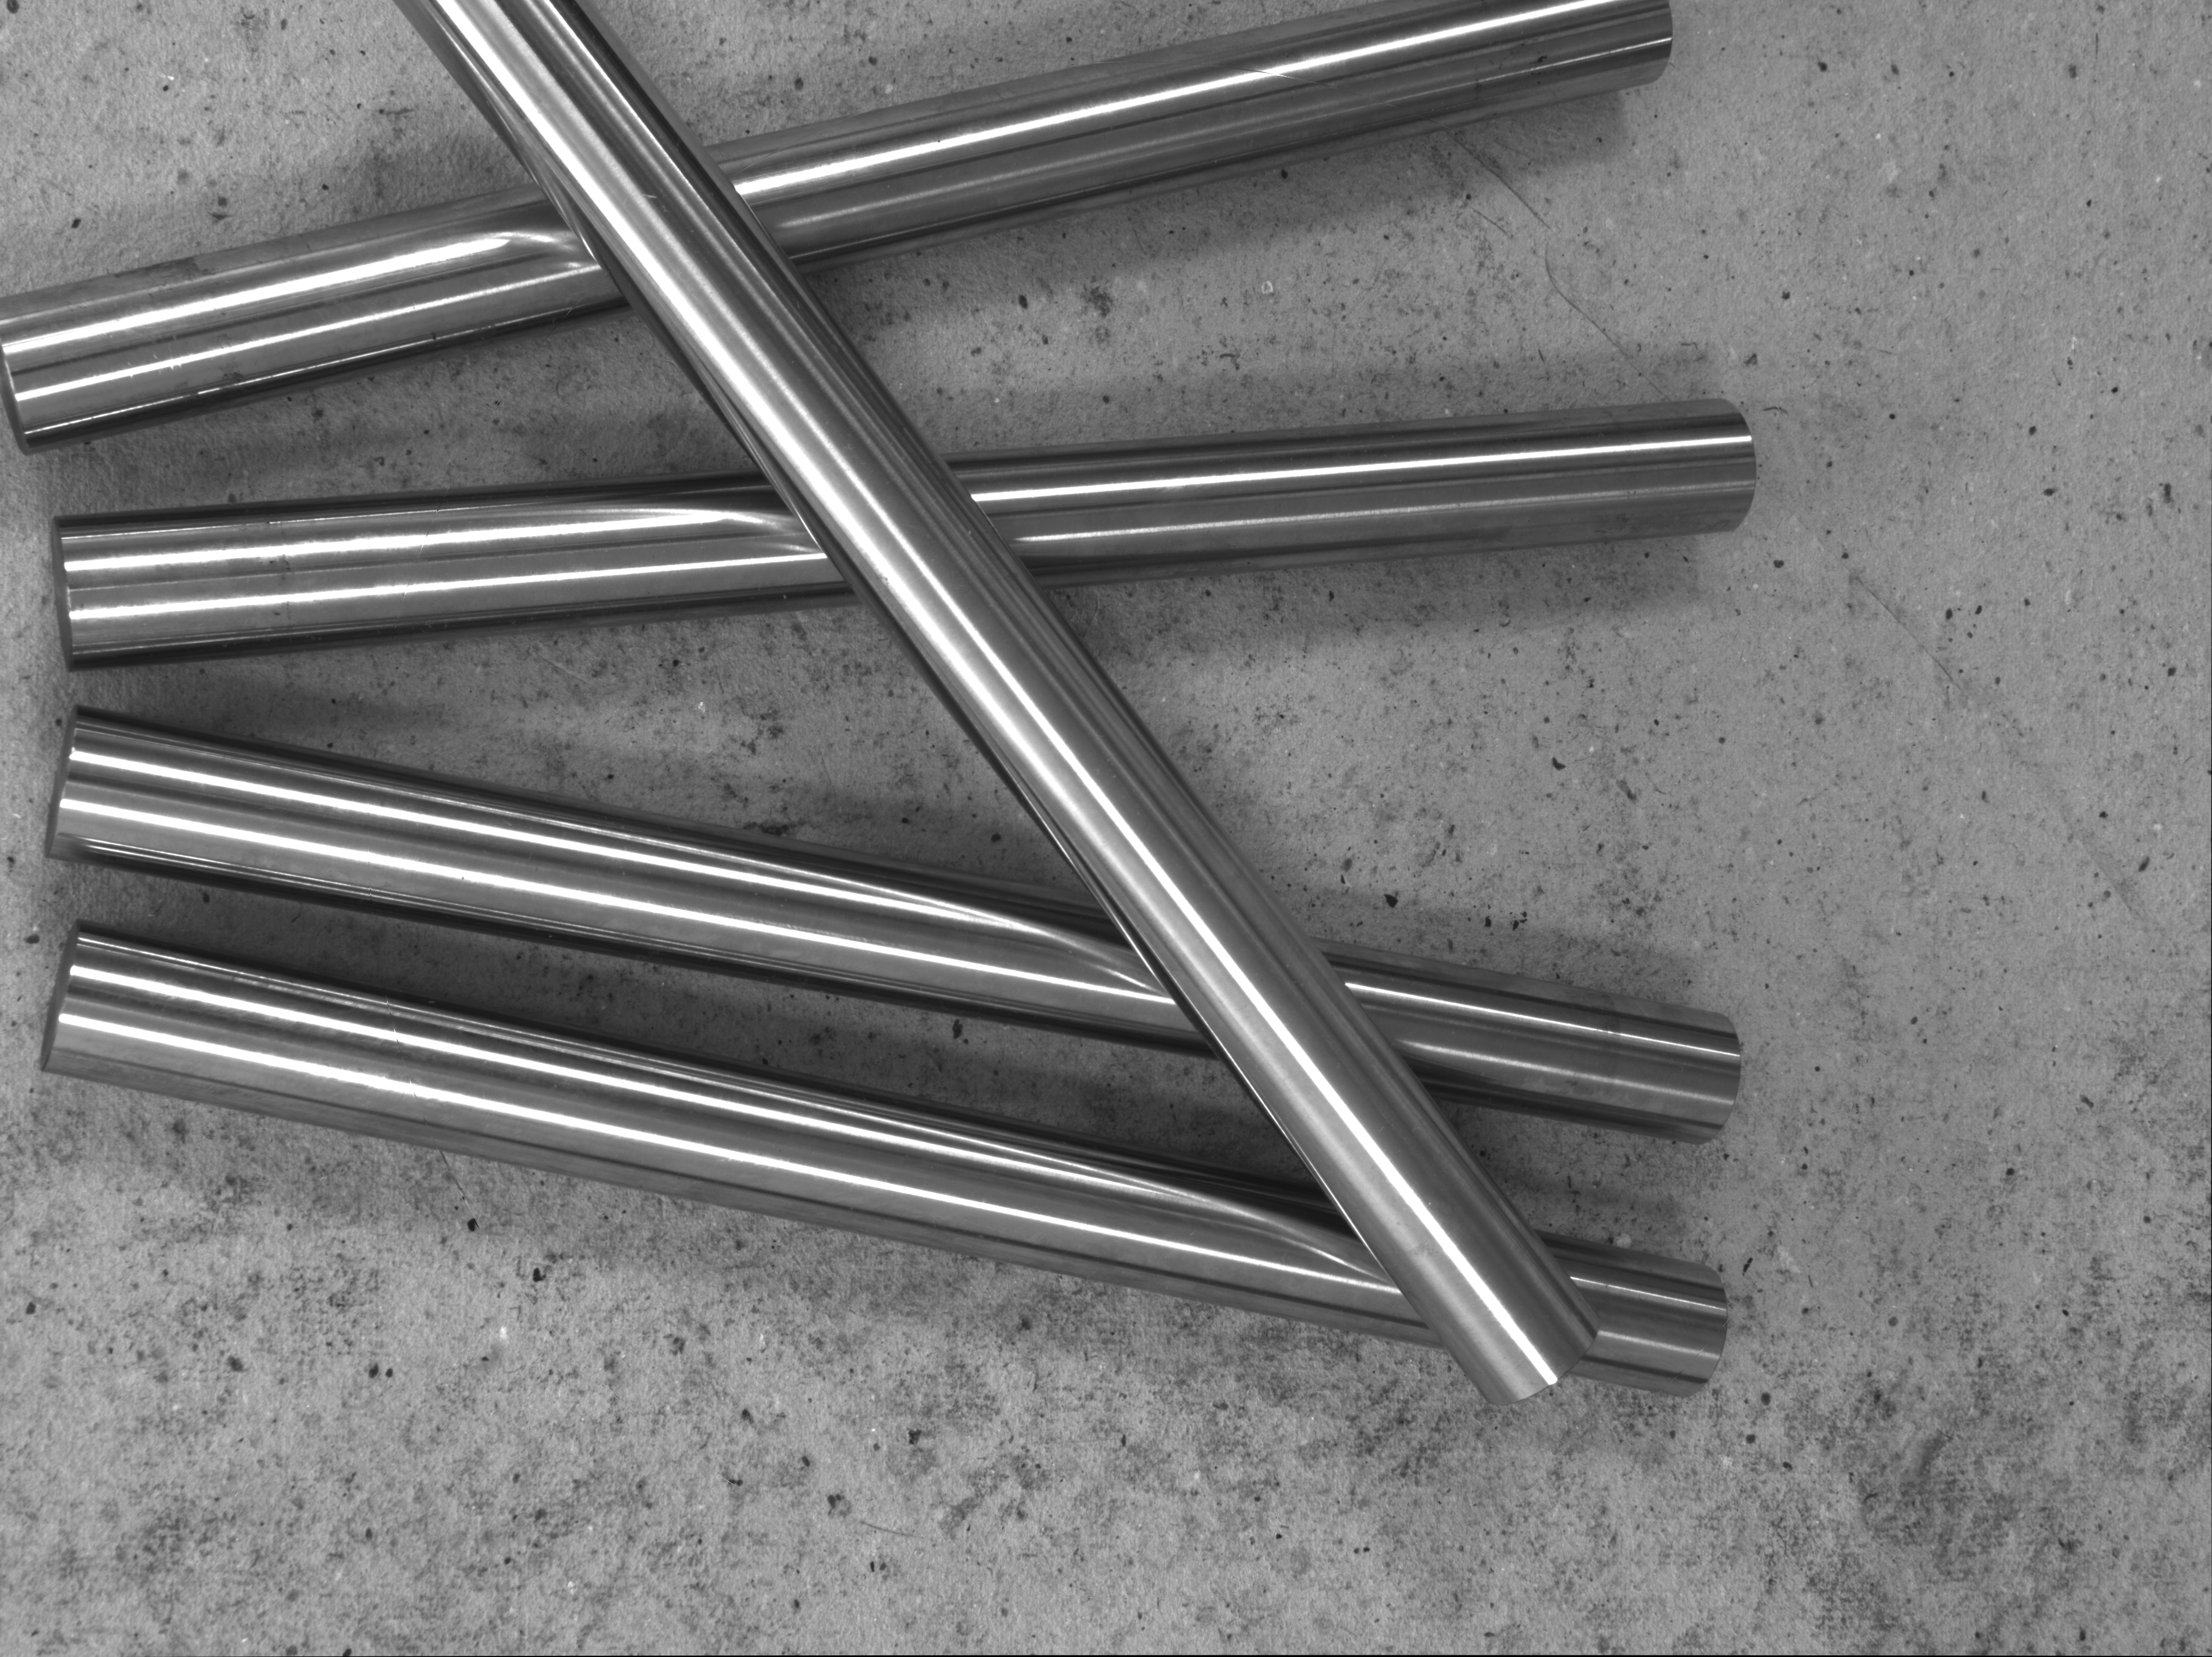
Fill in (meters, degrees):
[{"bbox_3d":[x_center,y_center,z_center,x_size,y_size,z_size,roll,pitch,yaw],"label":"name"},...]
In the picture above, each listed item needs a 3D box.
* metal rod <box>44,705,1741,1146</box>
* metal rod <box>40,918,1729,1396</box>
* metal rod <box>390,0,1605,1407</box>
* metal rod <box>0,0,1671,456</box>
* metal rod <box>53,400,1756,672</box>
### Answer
[{"bbox_3d":[-0.027,0.020,0.633,0.301,0.025,0.025,11,86,-20],"label":"metal rod"},{"bbox_3d":[-0.029,0.060,0.632,0.301,0.025,0.025,14,85,-19],"label":"metal rod"},{"bbox_3d":[-0.013,-0.023,0.611,0.025,0.025,0.300,-41,103,-15],"label":"metal rod"},{"bbox_3d":[-0.038,-0.111,0.630,0.301,0.025,0.025,-16,95,-19],"label":"metal rod"},{"bbox_3d":[-0.025,-0.052,0.634,0.301,0.025,0.025,-6,92,-20],"label":"metal rod"}]
